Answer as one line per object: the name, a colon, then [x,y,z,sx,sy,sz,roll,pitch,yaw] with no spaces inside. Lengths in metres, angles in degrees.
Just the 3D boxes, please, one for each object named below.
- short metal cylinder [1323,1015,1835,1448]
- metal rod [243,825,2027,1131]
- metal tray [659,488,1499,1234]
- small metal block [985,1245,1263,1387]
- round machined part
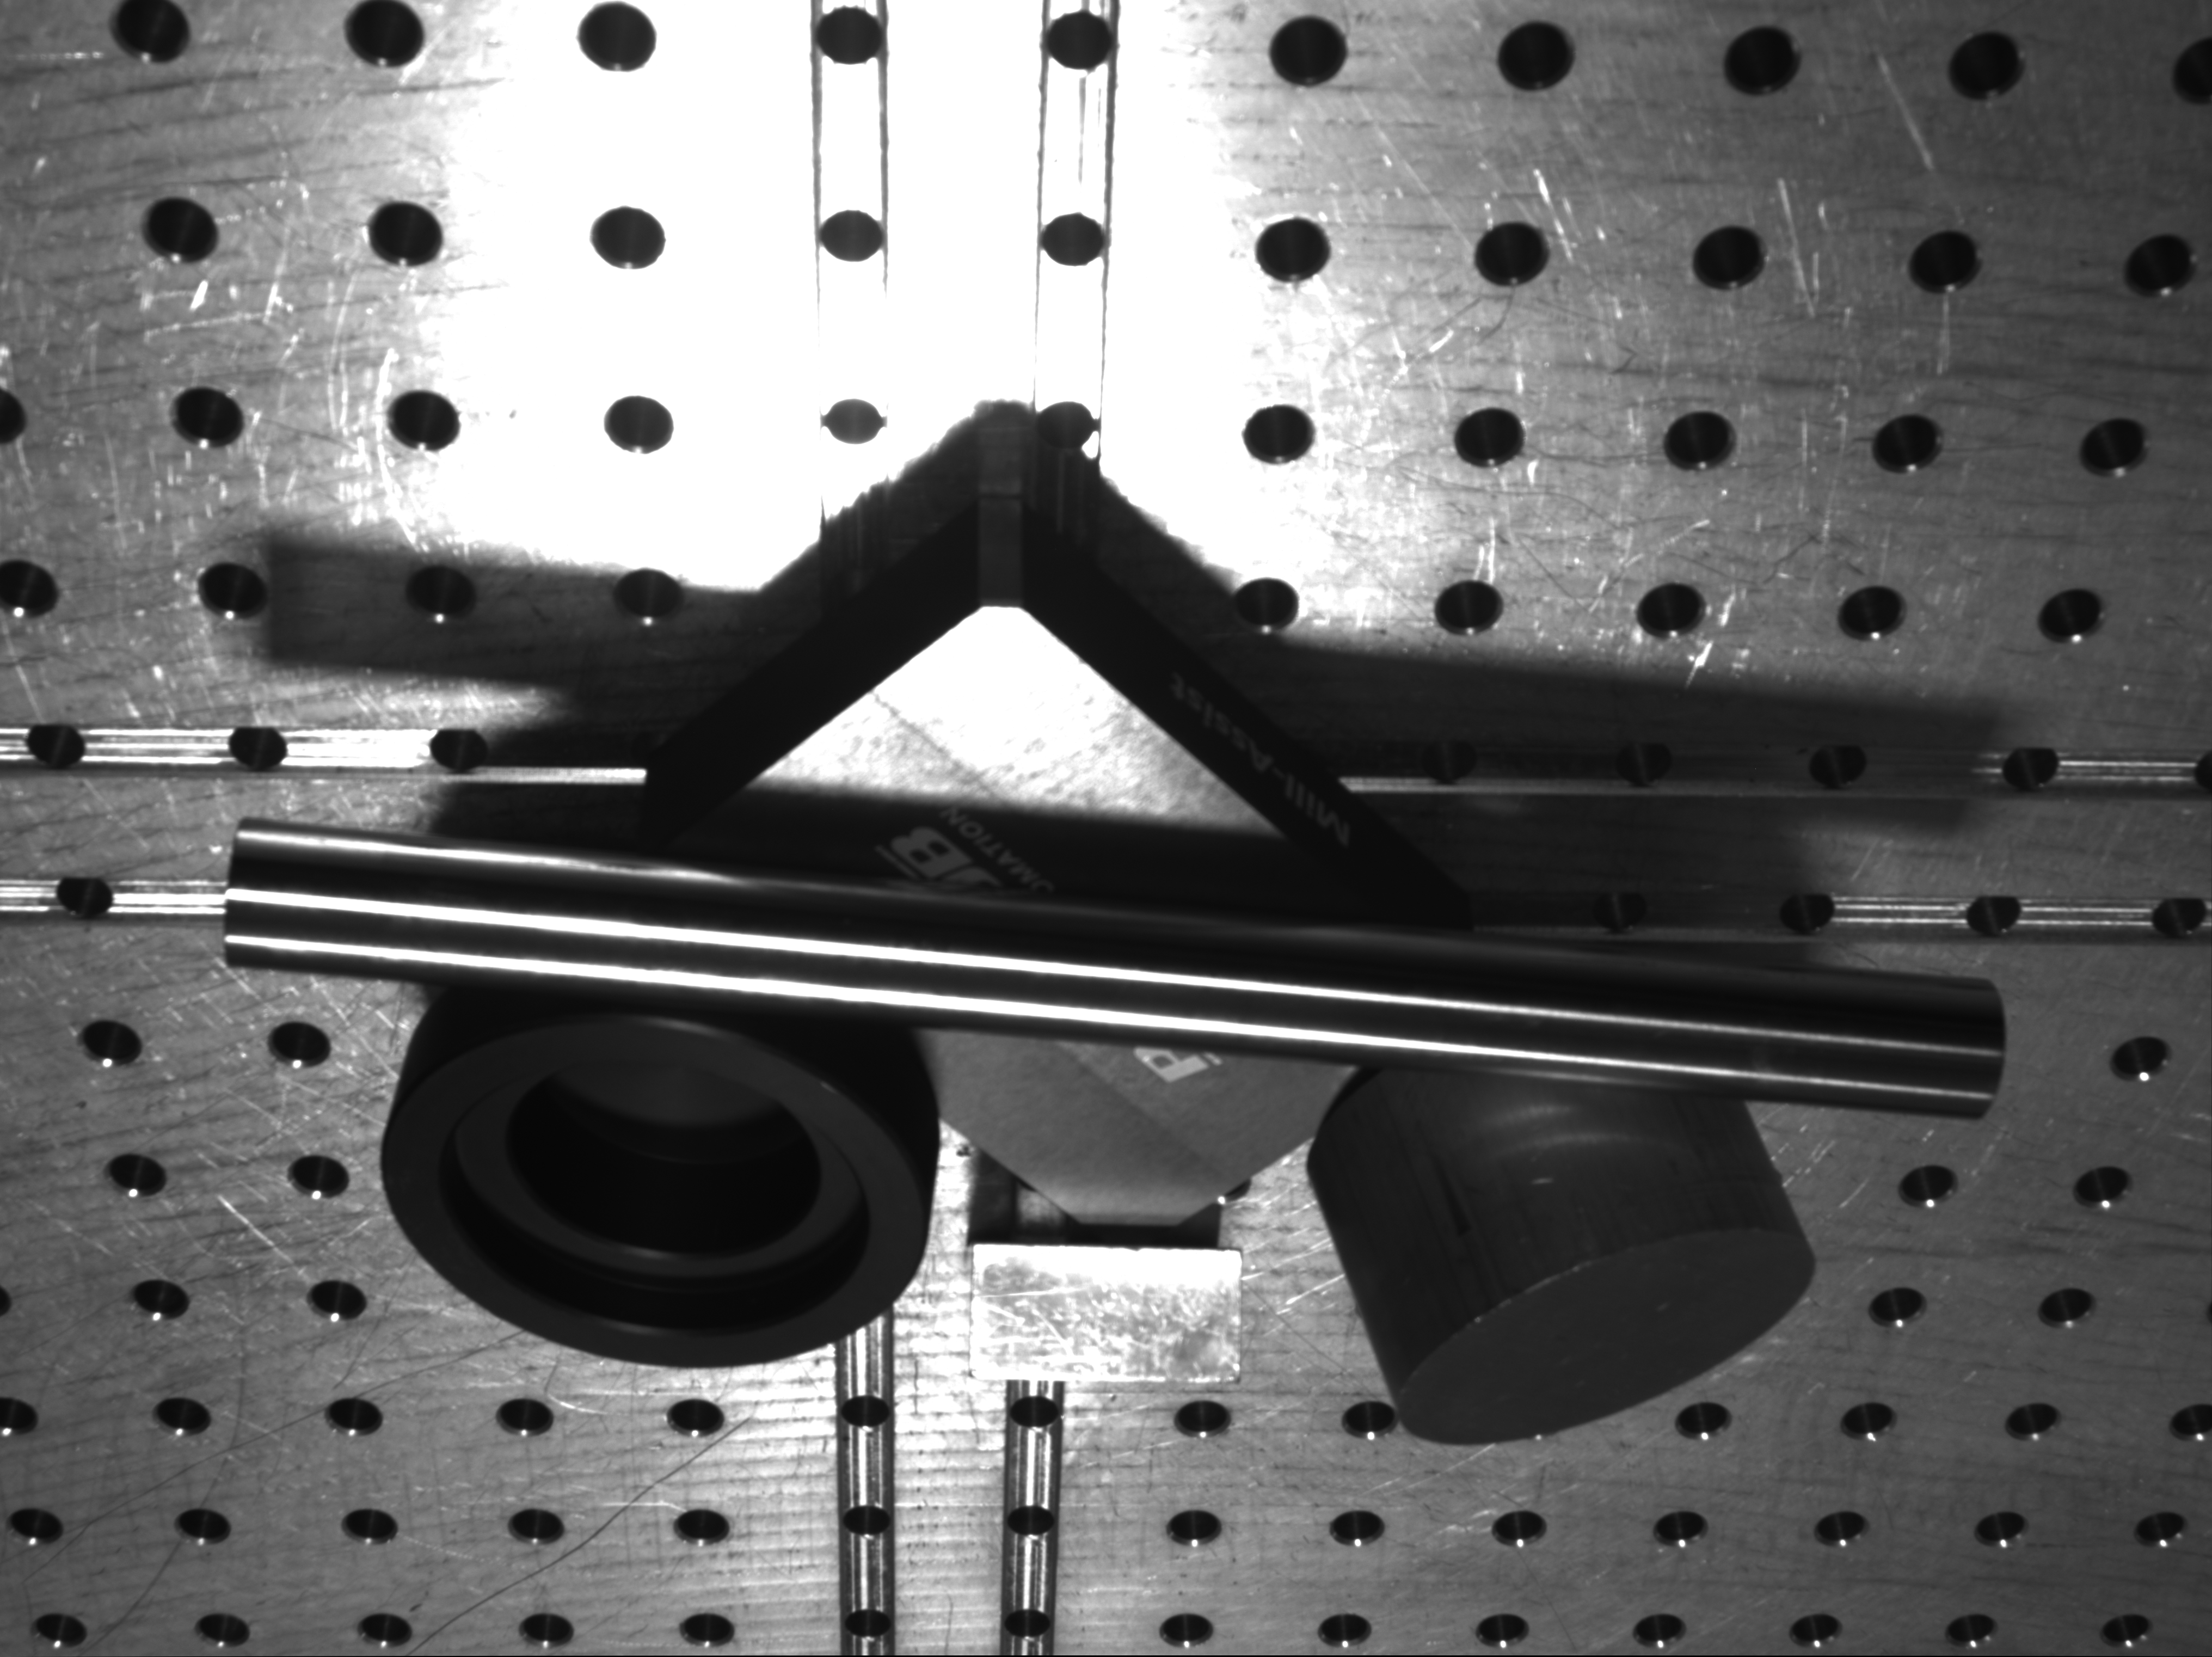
short metal cylinder: [0.086,0.072,0.668,0.080,0.050,0.080,-15,151,-9]
metal rod: [0.008,0.026,0.622,0.300,0.025,0.025,5,130,-6]
metal tray: [-0.003,0.010,0.648,0.090,0.030,0.130,-35,123,25]
small metal block: [0.002,0.093,0.702,0.050,0.025,0.050,2,173,-4]
round machined part: [-0.076,0.052,0.665,0.098,0.042,0.098,3,136,3]
